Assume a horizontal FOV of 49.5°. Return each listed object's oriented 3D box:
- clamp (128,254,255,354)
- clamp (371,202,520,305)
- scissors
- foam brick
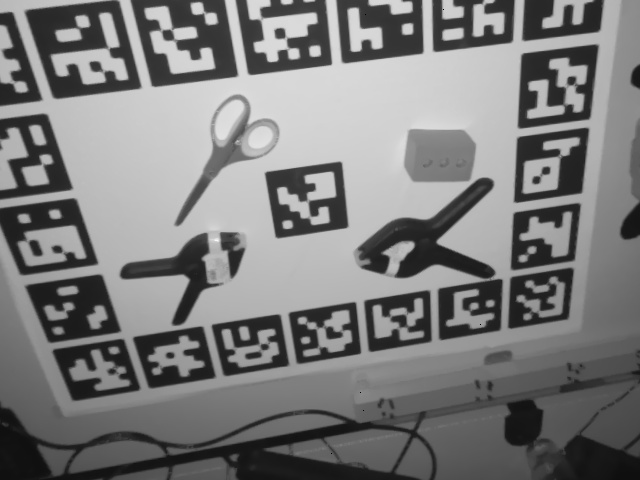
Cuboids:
[{"bbox_3d":[-0.155,0.071,0.922,0.164,0.037,0.122,-33,110,9],"label":"clamp"},{"bbox_3d":[0.170,0.037,0.942,0.203,0.037,0.164,-11,122,0],"label":"clamp"},{"bbox_3d":[-0.108,-0.065,0.858,0.088,0.016,0.200,31,112,-13],"label":"scissors"},{"bbox_3d":[0.174,-0.081,0.873,0.078,0.051,0.052,-3,117,-11],"label":"foam brick"}]
